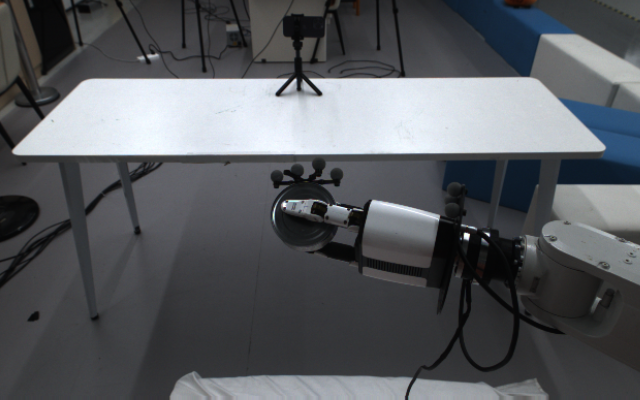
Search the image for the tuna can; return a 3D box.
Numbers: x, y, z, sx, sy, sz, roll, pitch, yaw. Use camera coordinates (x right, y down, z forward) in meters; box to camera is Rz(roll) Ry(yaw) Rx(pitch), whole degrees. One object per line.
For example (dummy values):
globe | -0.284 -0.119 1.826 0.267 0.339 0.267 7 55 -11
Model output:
tuna can | -0.016 0.026 0.616 0.085 0.034 0.085 -2 69 6
